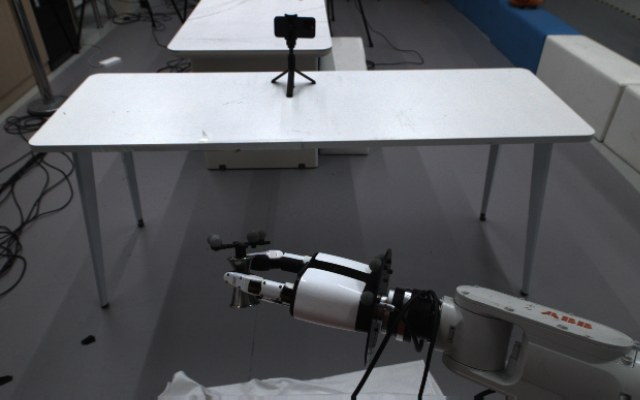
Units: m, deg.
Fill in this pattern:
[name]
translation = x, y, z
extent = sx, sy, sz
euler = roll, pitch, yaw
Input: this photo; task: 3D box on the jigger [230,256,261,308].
[jigger]
translation = -0.109, 0.114, 0.682
extent = 0.043, 0.071, 0.043
euler = -4, 1, 0
